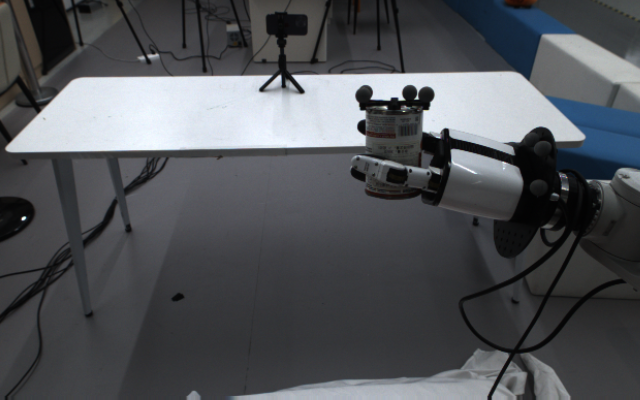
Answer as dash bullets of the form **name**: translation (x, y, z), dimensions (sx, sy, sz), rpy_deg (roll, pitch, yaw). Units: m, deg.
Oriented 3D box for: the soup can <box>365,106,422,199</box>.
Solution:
- **soup can**: translation (0.089, -0.058, 0.570), dimensions (0.067, 0.101, 0.067), rpy_deg (-2, 17, 0)
